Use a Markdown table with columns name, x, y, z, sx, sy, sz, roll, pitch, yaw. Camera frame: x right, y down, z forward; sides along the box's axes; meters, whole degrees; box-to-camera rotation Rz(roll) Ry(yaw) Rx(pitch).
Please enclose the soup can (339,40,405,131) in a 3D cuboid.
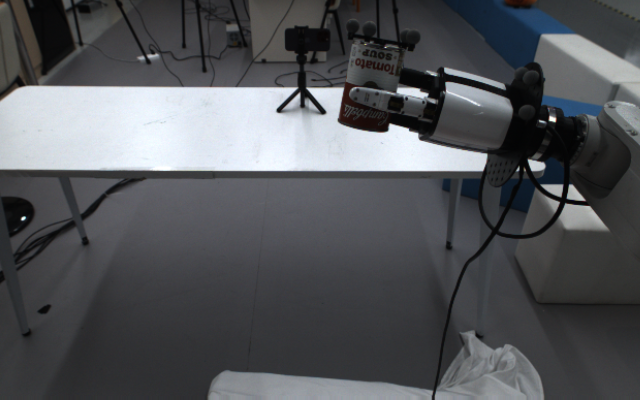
| name | x | y | z | sx | sy | sz | roll | pitch | yaw |
| --- | --- | --- | --- | --- | --- | --- | --- | --- | --- |
| soup can | 0.065 | -0.145 | 0.611 | 0.067 | 0.101 | 0.067 | 9 | 20 | -3 |
